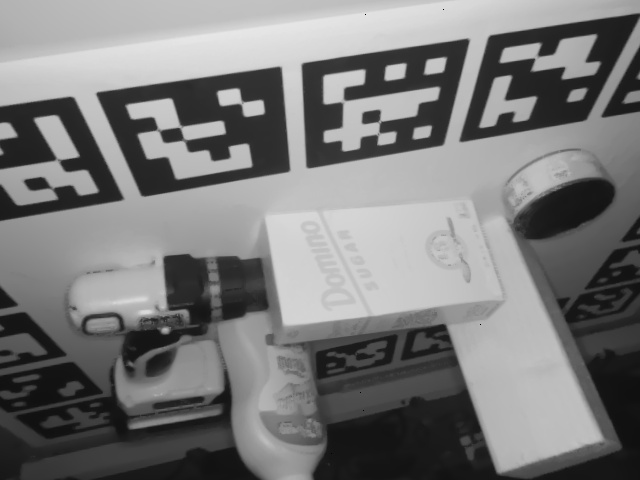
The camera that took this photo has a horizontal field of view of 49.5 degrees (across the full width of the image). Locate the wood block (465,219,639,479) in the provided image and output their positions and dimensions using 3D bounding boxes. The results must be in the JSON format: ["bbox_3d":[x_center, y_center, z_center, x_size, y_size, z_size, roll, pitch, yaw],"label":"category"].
[{"bbox_3d":[0.194,0.098,0.622,0.090,0.207,0.090,-27,141,15],"label":"wood block"}]

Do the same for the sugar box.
[{"bbox_3d":[0.063,0.019,0.554,0.178,0.093,0.044,0,144,-17],"label":"sugar box"}]

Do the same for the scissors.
[{"bbox_3d":[0.098,0.106,0.738,0.204,0.016,0.087,-8,147,-10],"label":"scissors"}]

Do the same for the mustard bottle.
[{"bbox_3d":[-0.022,0.151,0.622,0.058,0.192,0.097,-35,138,24],"label":"mustard bottle"}]

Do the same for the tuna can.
[{"bbox_3d":[0.220,-0.031,0.587,0.086,0.034,0.085,-10,142,-7],"label":"tuna can"}]

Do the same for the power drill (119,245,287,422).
[{"bbox_3d":[-0.081,0.082,0.609,0.186,0.057,0.184,-1,134,-19],"label":"power drill"}]
